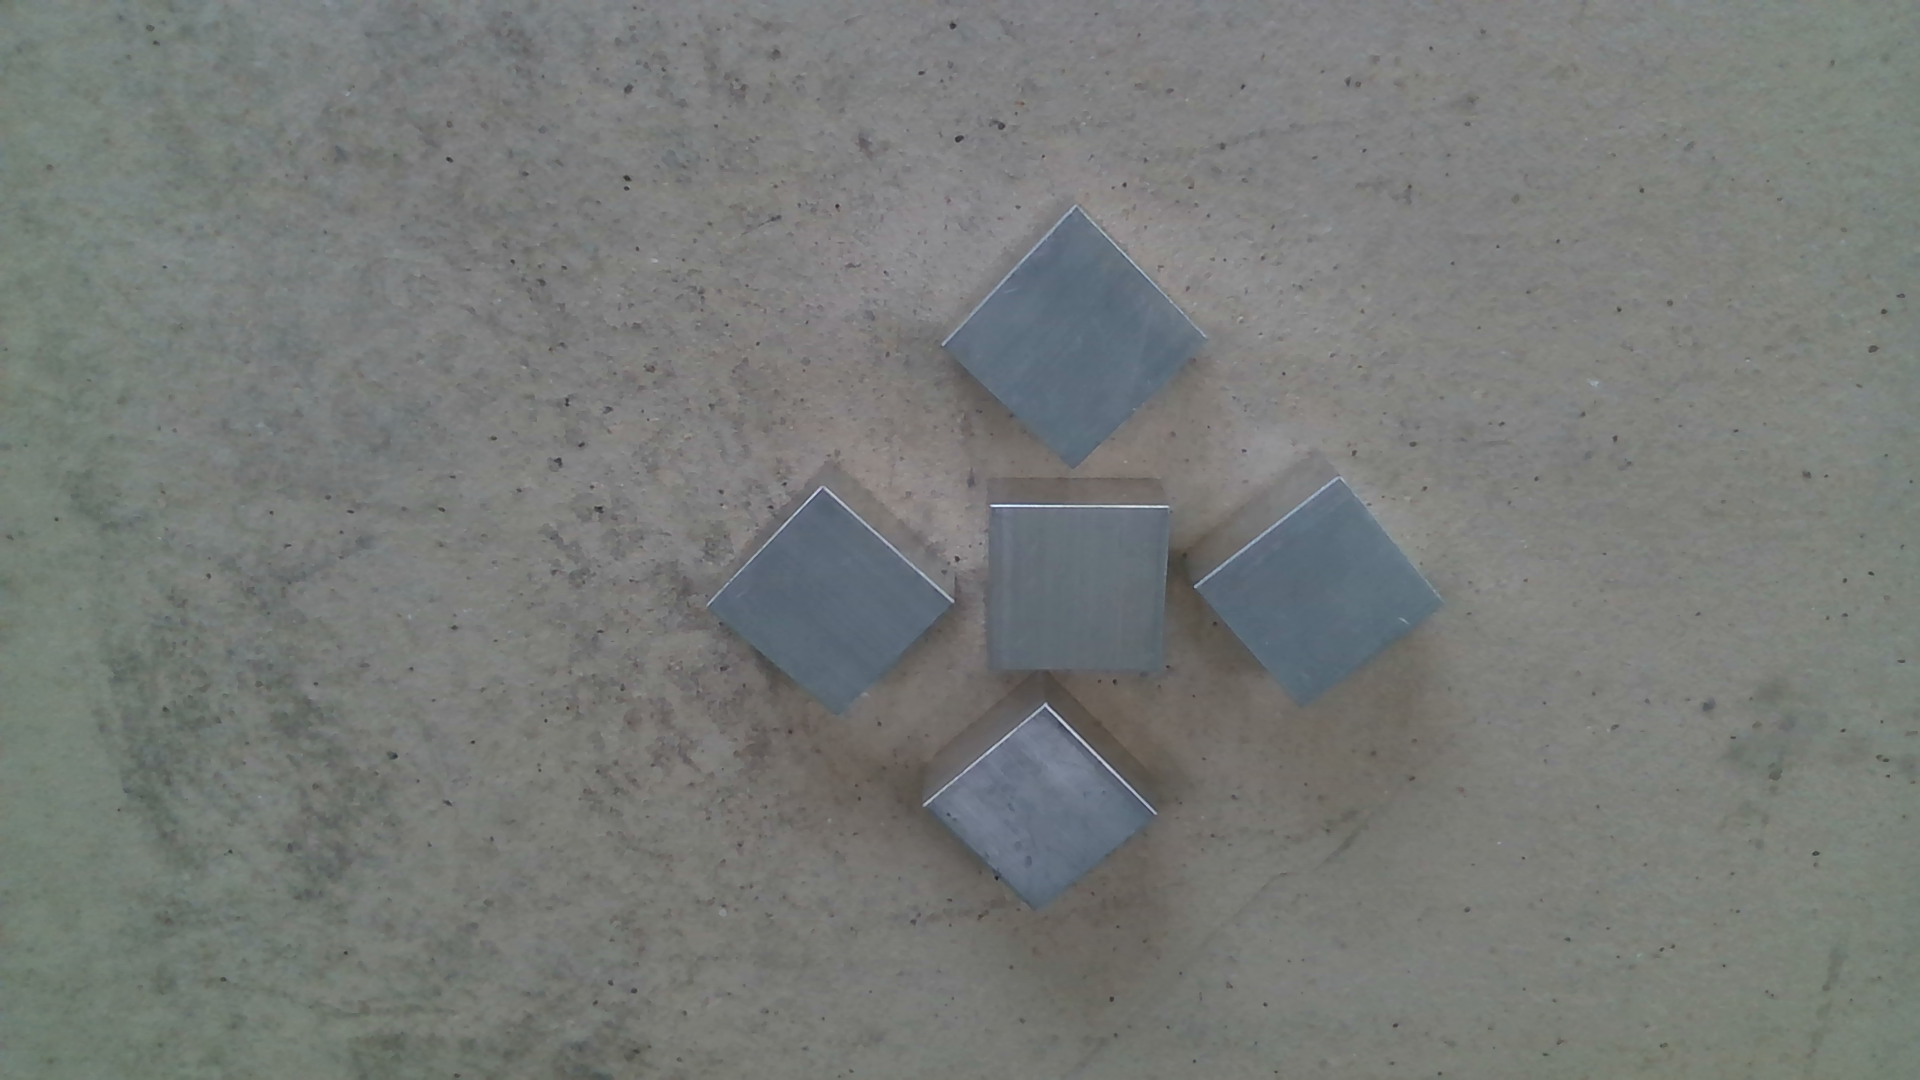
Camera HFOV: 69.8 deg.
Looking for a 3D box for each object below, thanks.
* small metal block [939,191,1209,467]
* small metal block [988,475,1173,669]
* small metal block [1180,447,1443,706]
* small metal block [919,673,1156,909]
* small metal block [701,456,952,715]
[{"bbox_3d":[0.030,-0.057,0.373,0.050,0.025,0.050,41,105,-15],"label":"small metal block"},{"bbox_3d":[0.033,0.009,0.396,0.050,0.025,0.050,0,110,0],"label":"small metal block"},{"bbox_3d":[0.100,0.011,0.397,0.050,0.025,0.050,-39,106,12],"label":"small metal block"},{"bbox_3d":[0.023,0.076,0.422,0.050,0.025,0.050,-41,105,14],"label":"small metal block"},{"bbox_3d":[-0.038,0.013,0.398,0.050,0.025,0.050,42,105,-15],"label":"small metal block"}]
